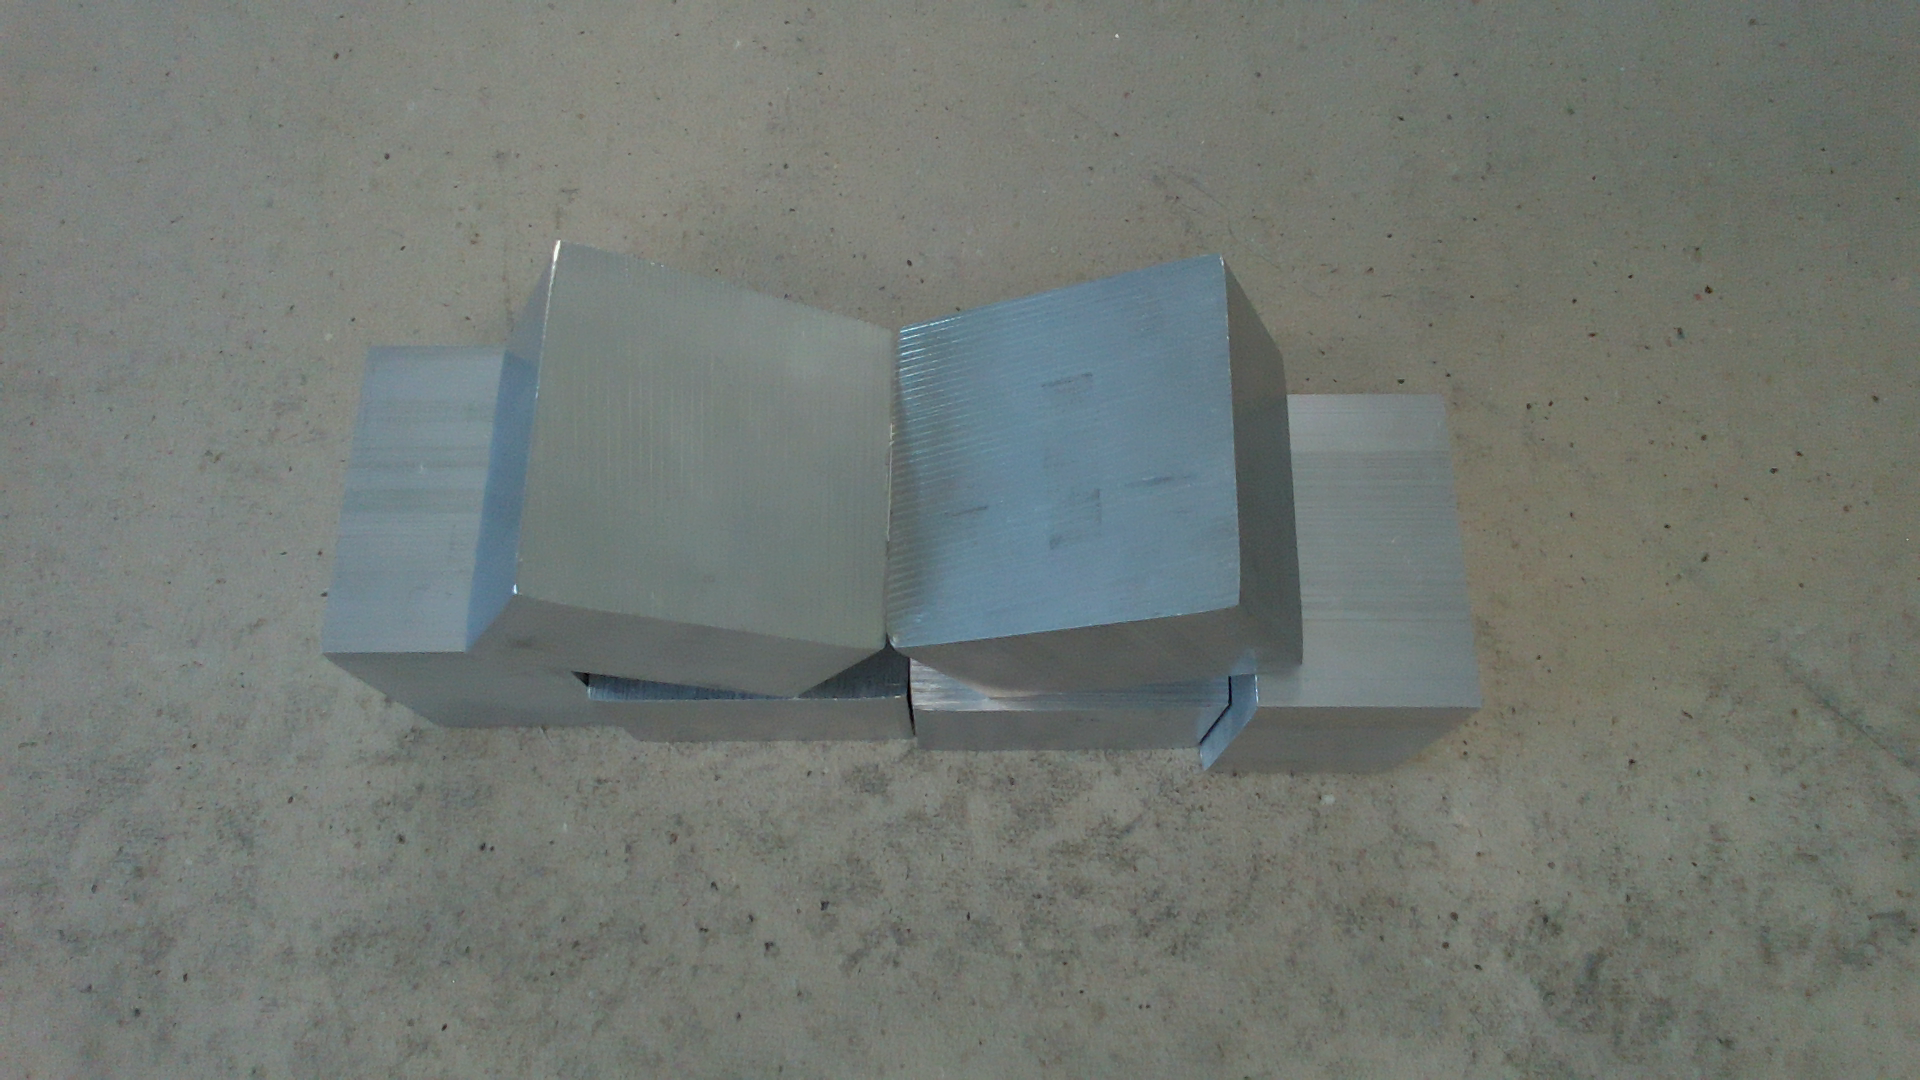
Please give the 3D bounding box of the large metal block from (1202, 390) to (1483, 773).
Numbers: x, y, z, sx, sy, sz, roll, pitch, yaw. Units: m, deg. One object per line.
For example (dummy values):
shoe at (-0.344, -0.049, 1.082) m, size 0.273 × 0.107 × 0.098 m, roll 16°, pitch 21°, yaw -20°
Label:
large metal block at (0.093, 0.014, 0.362) m, size 0.050 × 0.080 × 0.080 m, roll 0°, pitch 70°, yaw -1°

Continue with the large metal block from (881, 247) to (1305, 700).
large metal block at (0.031, -0.011, 0.316) m, size 0.080 × 0.050 × 0.080 m, roll -9°, pitch 67°, yaw 25°

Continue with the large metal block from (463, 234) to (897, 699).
large metal block at (-0.062, -0.013, 0.315) m, size 0.080 × 0.050 × 0.080 m, roll 11°, pitch 67°, yaw -27°

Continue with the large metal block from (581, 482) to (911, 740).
large metal block at (-0.053, 0.010, 0.377) m, size 0.080 × 0.050 × 0.080 m, roll 0°, pitch 70°, yaw 0°

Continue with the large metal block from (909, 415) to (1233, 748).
large metal block at (0.028, 0.013, 0.376) m, size 0.080 × 0.050 × 0.080 m, roll 0°, pitch 70°, yaw 0°

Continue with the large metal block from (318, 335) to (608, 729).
large metal block at (-0.121, 0.001, 0.364) m, size 0.050 × 0.080 × 0.080 m, roll -1°, pitch 69°, yaw 0°
